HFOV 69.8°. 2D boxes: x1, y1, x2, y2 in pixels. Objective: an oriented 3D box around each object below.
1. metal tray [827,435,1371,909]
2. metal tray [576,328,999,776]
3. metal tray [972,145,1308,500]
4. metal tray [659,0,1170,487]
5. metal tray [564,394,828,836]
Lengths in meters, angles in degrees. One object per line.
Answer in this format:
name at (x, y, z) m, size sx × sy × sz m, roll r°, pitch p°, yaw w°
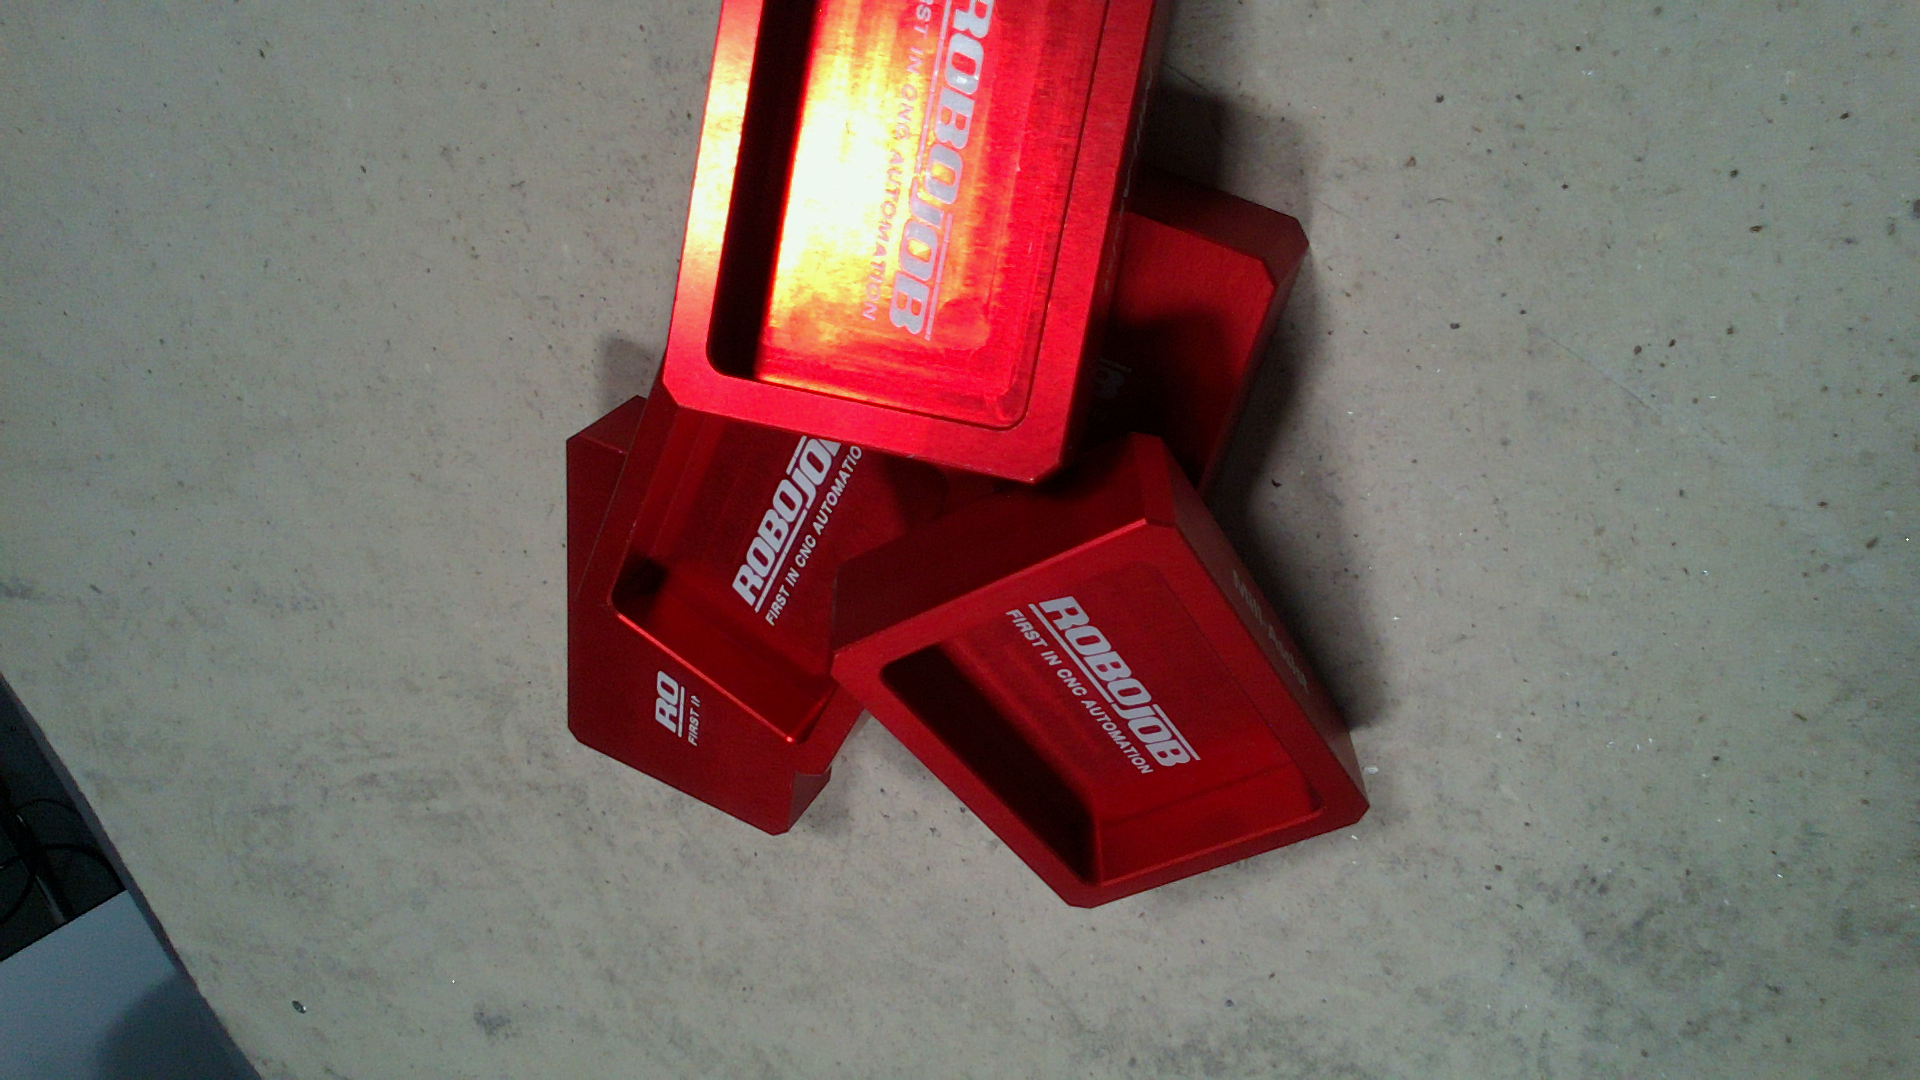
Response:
metal tray at (0.038, 0.041, 0.350) m, size 0.090 × 0.030 × 0.130 m, roll -24°, pitch 130°, yaw 20°
metal tray at (-0.046, -0.004, 0.373) m, size 0.090 × 0.030 × 0.130 m, roll 35°, pitch 129°, yaw 5°
metal tray at (0.010, -0.057, 0.349) m, size 0.130 × 0.030 × 0.090 m, roll 24°, pitch 127°, yaw 13°
metal tray at (-0.008, -0.084, 0.298) m, size 0.090 × 0.030 × 0.130 m, roll 12°, pitch 97°, yaw 10°
metal tray at (-0.083, 0.027, 0.451) m, size 0.090 × 0.030 × 0.130 m, roll 22°, pitch 127°, yaw 15°
